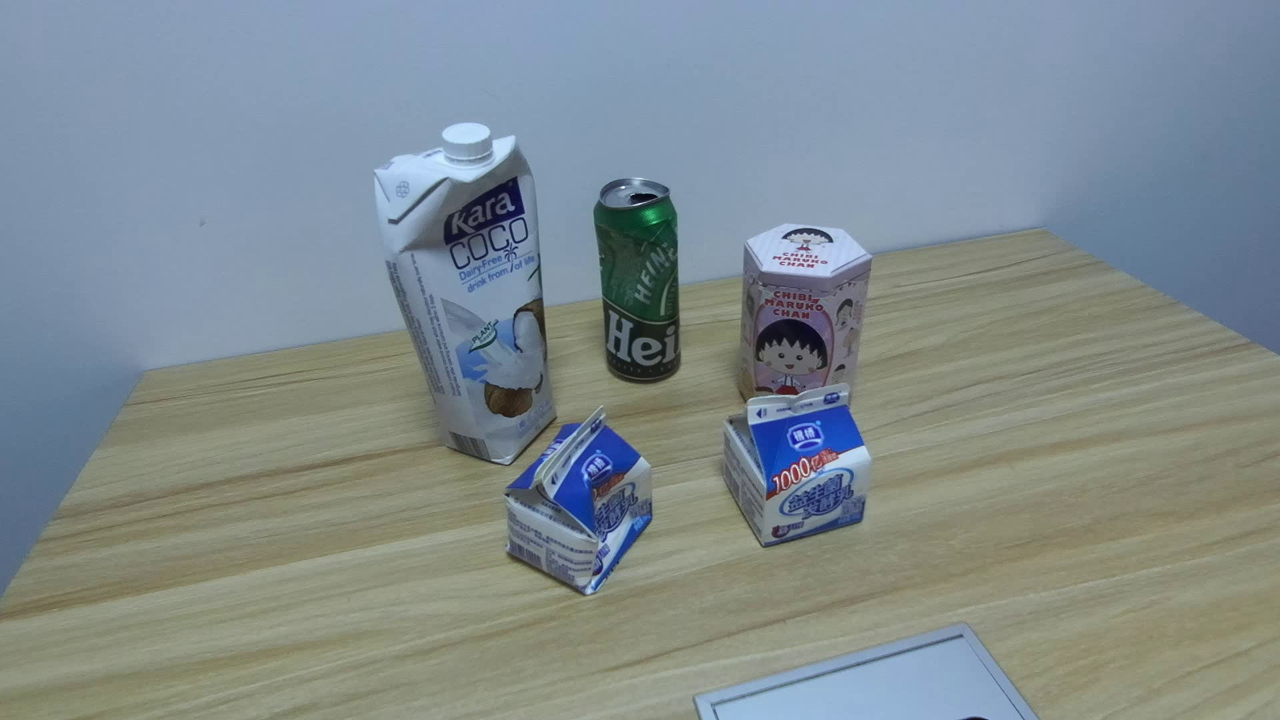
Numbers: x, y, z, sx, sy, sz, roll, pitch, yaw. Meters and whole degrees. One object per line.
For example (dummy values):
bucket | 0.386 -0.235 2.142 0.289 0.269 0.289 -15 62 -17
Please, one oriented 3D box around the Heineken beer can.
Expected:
Heineken beer can | -0.001 -0.063 0.583 0.066 0.164 0.077 -3 35 2

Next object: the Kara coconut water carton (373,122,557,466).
Kara coconut water carton | -0.114 -0.041 0.495 0.069 0.239 0.115 16 38 25

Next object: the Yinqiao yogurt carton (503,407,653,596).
Yinqiao yogurt carton | -0.040 0.080 0.436 0.071 0.094 0.077 19 41 24

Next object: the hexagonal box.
hexagonal box | 0.121 -0.022 0.534 0.091 0.136 0.084 9 34 17

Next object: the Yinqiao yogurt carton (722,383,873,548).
Yinqiao yogurt carton | 0.101 0.057 0.457 0.076 0.092 0.073 -10 33 -13
